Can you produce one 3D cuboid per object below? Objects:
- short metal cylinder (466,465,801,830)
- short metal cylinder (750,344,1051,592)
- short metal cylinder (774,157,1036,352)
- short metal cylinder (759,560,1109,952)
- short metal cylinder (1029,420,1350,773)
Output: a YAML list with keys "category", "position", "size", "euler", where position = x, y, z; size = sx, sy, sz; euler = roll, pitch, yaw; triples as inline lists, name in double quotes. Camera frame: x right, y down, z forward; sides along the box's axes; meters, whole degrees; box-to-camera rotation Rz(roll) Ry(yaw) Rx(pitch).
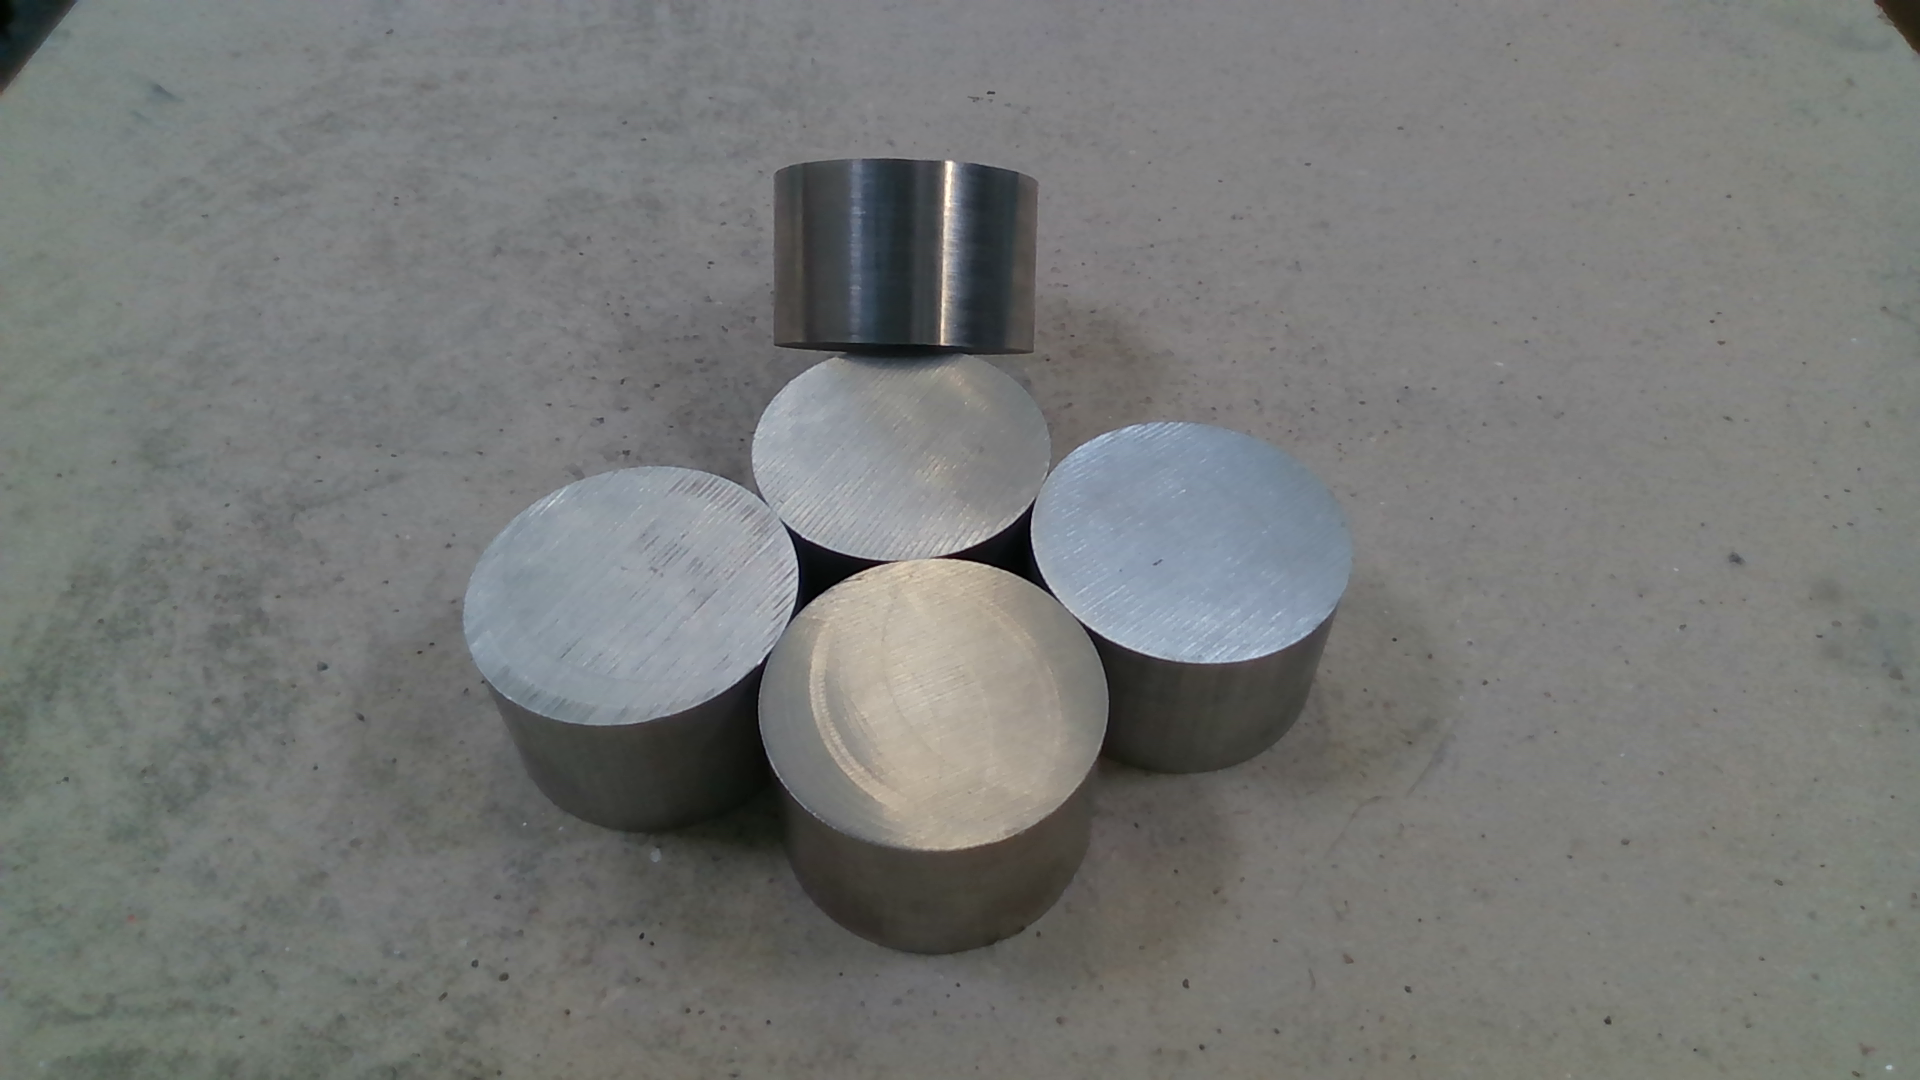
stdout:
- category: "short metal cylinder"
  position: [-0.080, 0.027, 0.355]
  size: [0.080, 0.050, 0.080]
  euler: [0, 50, 0]
- category: "short metal cylinder"
  position: [-0.016, -0.010, 0.386]
  size: [0.080, 0.050, 0.080]
  euler: [0, 50, 0]
- category: "short metal cylinder"
  position: [-0.017, -0.084, 0.421]
  size: [0.080, 0.050, 0.080]
  euler: [1, 6, 0]
- category: "short metal cylinder"
  position: [-0.006, 0.052, 0.335]
  size: [0.080, 0.050, 0.080]
  euler: [0, 50, 0]
- category: "short metal cylinder"
  position: [0.058, 0.014, 0.366]
  size: [0.080, 0.050, 0.080]
  euler: [0, 50, 0]
